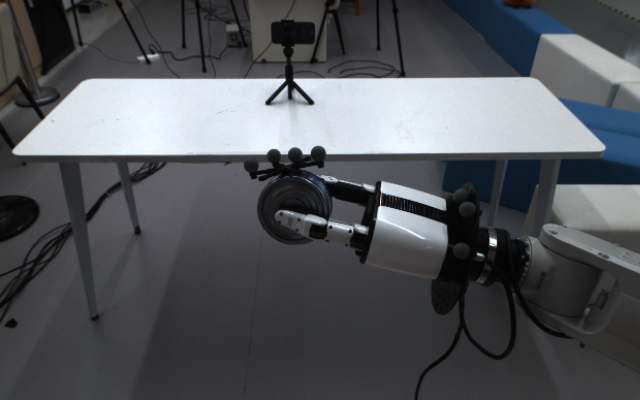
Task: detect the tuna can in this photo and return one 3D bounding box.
[{"bbox_3d":[-0.025,0.015,0.566,0.085,0.085,0.034,6,18,5],"label":"tuna can"}]
